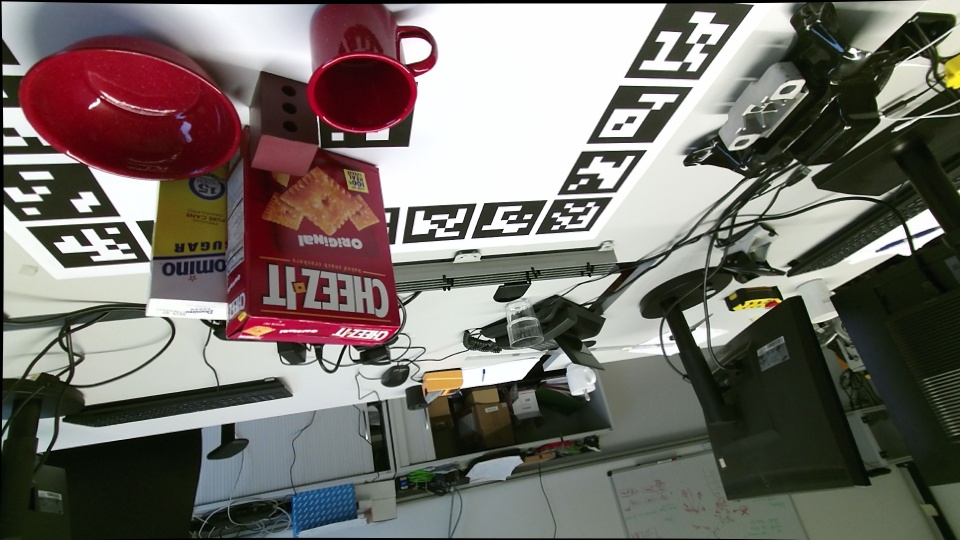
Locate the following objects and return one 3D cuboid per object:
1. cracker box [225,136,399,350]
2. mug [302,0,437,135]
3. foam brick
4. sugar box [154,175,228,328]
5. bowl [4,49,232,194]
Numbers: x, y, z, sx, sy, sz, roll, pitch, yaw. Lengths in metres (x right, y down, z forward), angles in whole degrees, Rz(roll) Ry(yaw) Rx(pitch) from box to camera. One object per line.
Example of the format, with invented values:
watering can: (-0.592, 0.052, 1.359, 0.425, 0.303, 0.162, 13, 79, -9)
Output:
cracker box: (-0.184, -0.027, 0.591, 0.165, 0.212, 0.072, 12, 146, -40)
mug: (-0.097, -0.181, 0.469, 0.117, 0.081, 0.093, -12, 162, -8)
foam brick: (-0.195, -0.136, 0.531, 0.053, 0.077, 0.051, 1, 151, -30)
sugar box: (-0.297, -0.025, 0.580, 0.093, 0.175, 0.045, 5, 148, -34)
bowl: (-0.307, -0.136, 0.470, 0.162, 0.055, 0.162, -11, 153, -6)
